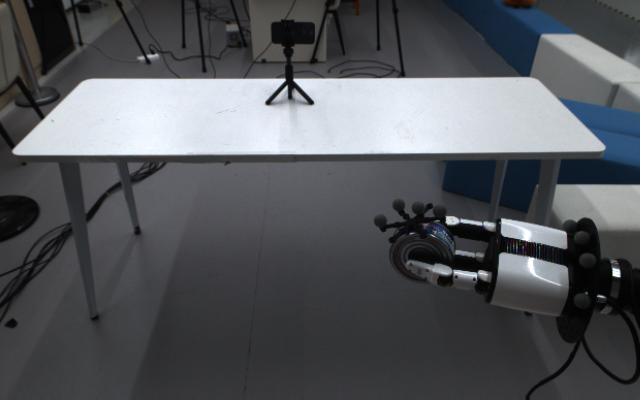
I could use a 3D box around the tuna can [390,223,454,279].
[{"bbox_3d":[0.141,0.076,0.646,0.085,0.085,0.034,11,34,13],"label":"tuna can"}]
